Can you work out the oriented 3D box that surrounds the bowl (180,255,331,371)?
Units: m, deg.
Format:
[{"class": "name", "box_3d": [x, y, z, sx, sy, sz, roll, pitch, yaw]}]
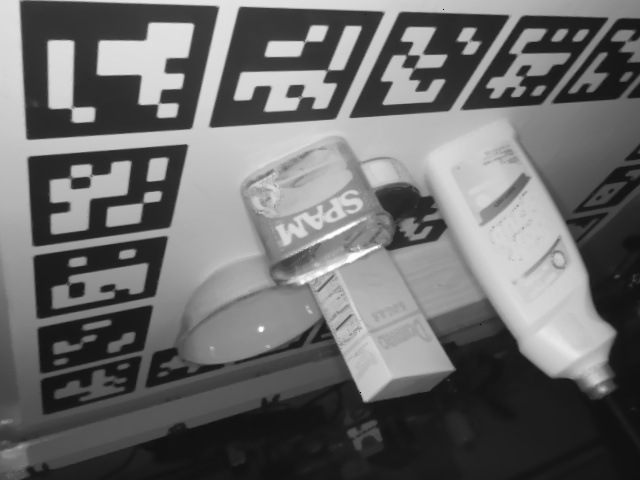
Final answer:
[{"class": "bowl", "box_3d": [-0.066, 0.063, 0.679, 0.163, 0.055, 0.160, -22, 151, -12]}]

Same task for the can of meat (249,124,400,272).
[{"class": "can of meat", "box_3d": [0.001, -0.035, 0.561, 0.102, 0.084, 0.057, -23, 152, -1]}]

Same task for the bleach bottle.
[{"class": "bleach bottle", "box_3d": [0.197, 0.012, 0.605, 0.103, 0.251, 0.067, -22, 150, -6]}]

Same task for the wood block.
[{"class": "wood block", "box_3d": [0.156, 0.072, 0.826, 0.209, 0.090, 0.090, -12, 142, -19]}]

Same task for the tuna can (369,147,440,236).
[{"class": "tuna can", "box_3d": [0.063, -0.043, 0.629, 0.086, 0.034, 0.085, -20, 146, -13]}]

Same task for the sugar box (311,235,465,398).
[{"class": "sugar box", "box_3d": [0.051, 0.052, 0.626, 0.094, 0.176, 0.044, 6, 135, -46]}]
